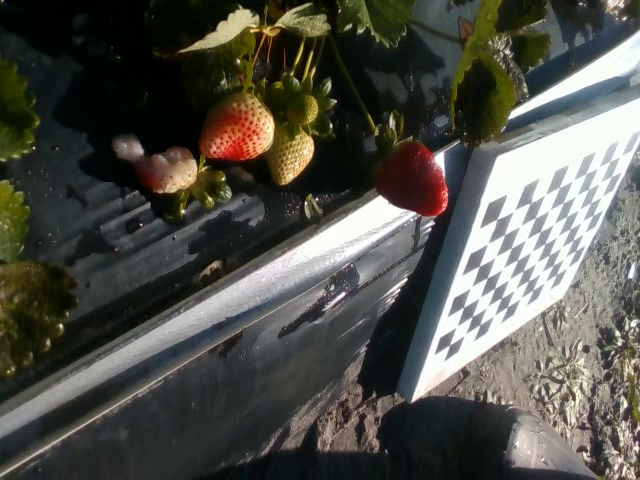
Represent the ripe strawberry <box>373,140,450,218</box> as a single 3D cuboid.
[{"bbox_3d":[0.047,-0.027,0.311,0.036,0.046,0.038,-21,-29,-32],"label":"ripe strawberry"}]
